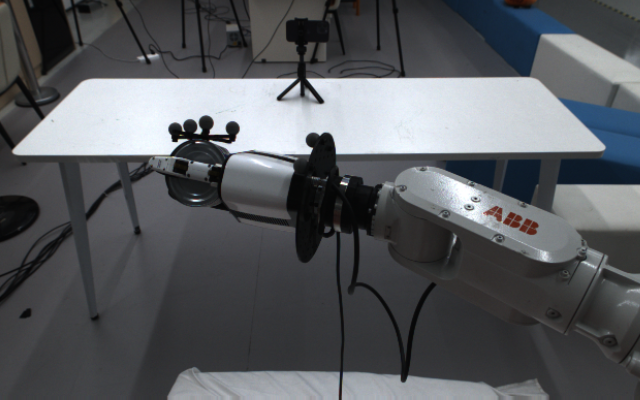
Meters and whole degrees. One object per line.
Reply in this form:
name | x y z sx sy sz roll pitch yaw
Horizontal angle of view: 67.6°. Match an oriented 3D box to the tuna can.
tuna can | -0.150 -0.032 0.619 0.085 0.085 0.034 11 -1 13
